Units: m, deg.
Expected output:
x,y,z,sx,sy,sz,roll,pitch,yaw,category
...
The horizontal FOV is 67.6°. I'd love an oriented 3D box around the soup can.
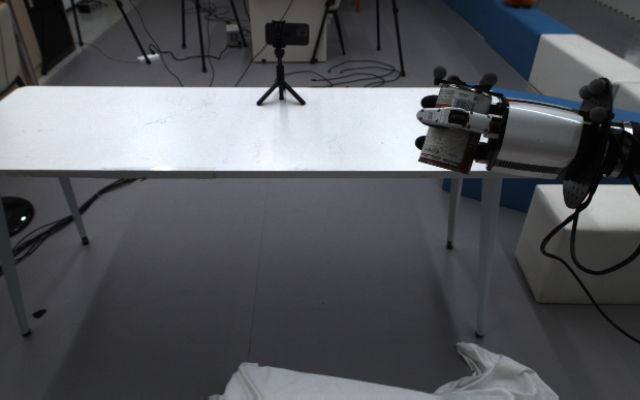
x,y,z,sx,sy,sz,roll,pitch,yaw,category
0.175,-0.091,0.625,0.067,0.101,0.067,15,7,-2,soup can
